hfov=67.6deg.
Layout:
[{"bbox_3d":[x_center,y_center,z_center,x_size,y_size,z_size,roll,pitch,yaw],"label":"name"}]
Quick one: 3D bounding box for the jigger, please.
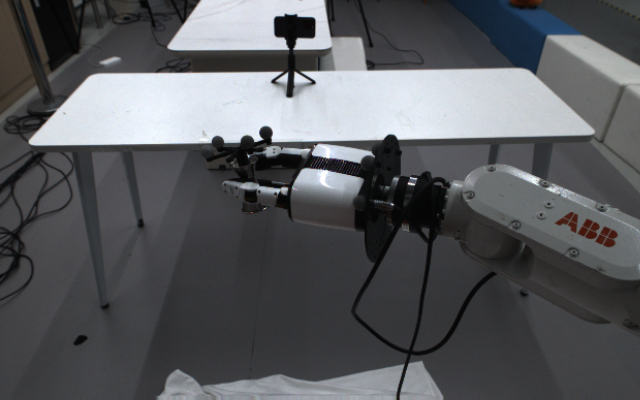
[{"bbox_3d":[-0.094,-0.021,0.658,0.043,0.071,0.043,-12,24,5],"label":"jigger"}]
